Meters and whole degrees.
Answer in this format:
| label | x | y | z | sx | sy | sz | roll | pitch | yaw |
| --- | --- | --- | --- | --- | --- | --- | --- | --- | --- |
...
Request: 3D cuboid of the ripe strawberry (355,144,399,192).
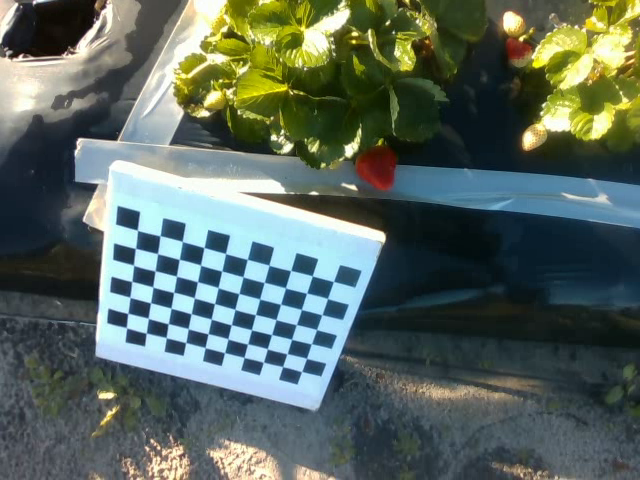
| label | x | y | z | sx | sy | sz | roll | pitch | yaw |
| --- | --- | --- | --- | --- | --- | --- | --- | --- | --- |
| ripe strawberry | 0.060 | -0.074 | 0.697 | 0.049 | 0.063 | 0.045 | 17 | -48 | -39 |
